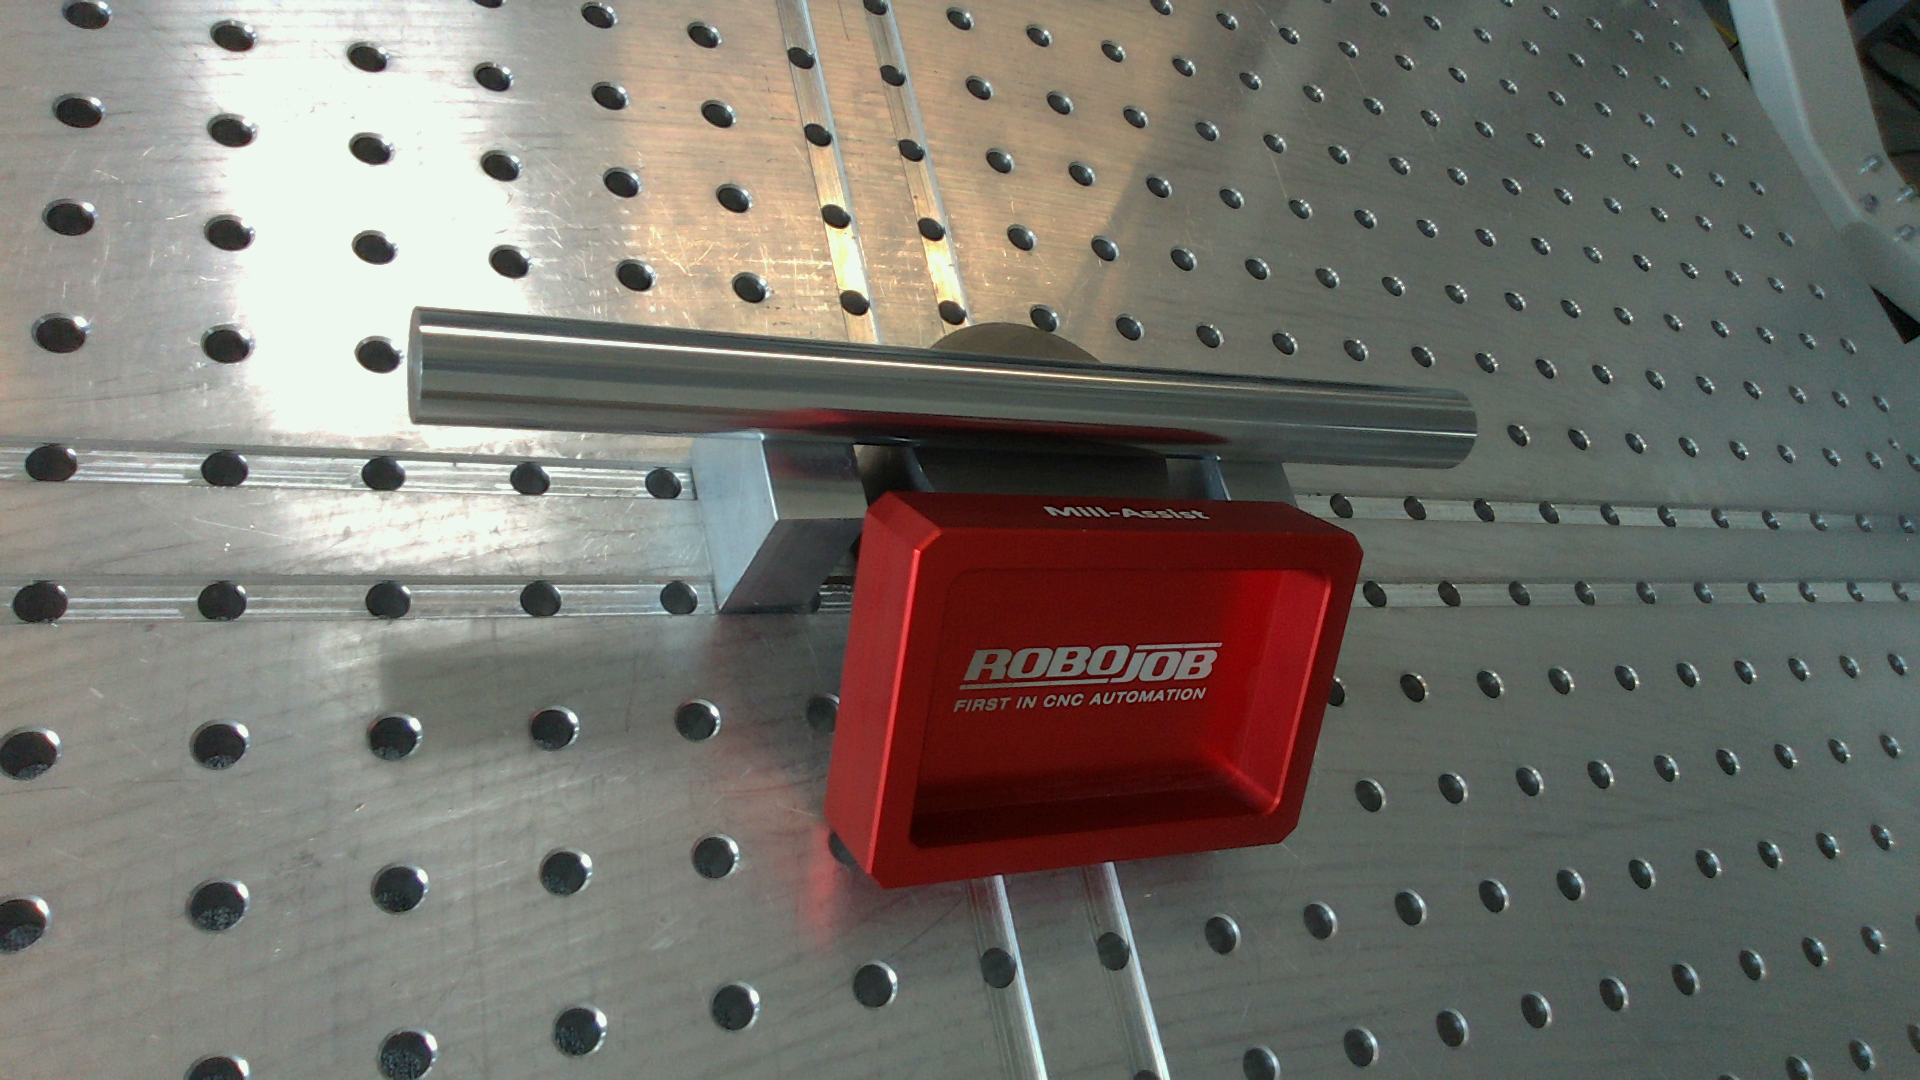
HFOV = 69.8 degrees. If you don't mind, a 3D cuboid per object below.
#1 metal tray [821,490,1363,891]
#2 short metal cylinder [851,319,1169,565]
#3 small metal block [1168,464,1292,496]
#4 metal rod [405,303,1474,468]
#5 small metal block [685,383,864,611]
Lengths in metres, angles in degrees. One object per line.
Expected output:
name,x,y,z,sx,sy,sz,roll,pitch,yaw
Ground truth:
metal tray,0.035,0.036,0.351,0.130,0.090,0.030,0,18,-28
short metal cylinder,0.012,-0.015,0.392,0.080,0.050,0.080,14,56,-21
small metal block,0.074,-0.012,0.424,0.025,0.050,0.050,-1,62,-28
metal rod,0.017,-0.036,0.360,0.301,0.025,0.025,1,61,-28
small metal block,-0.050,-0.015,0.360,0.025,0.050,0.050,-1,62,-28
